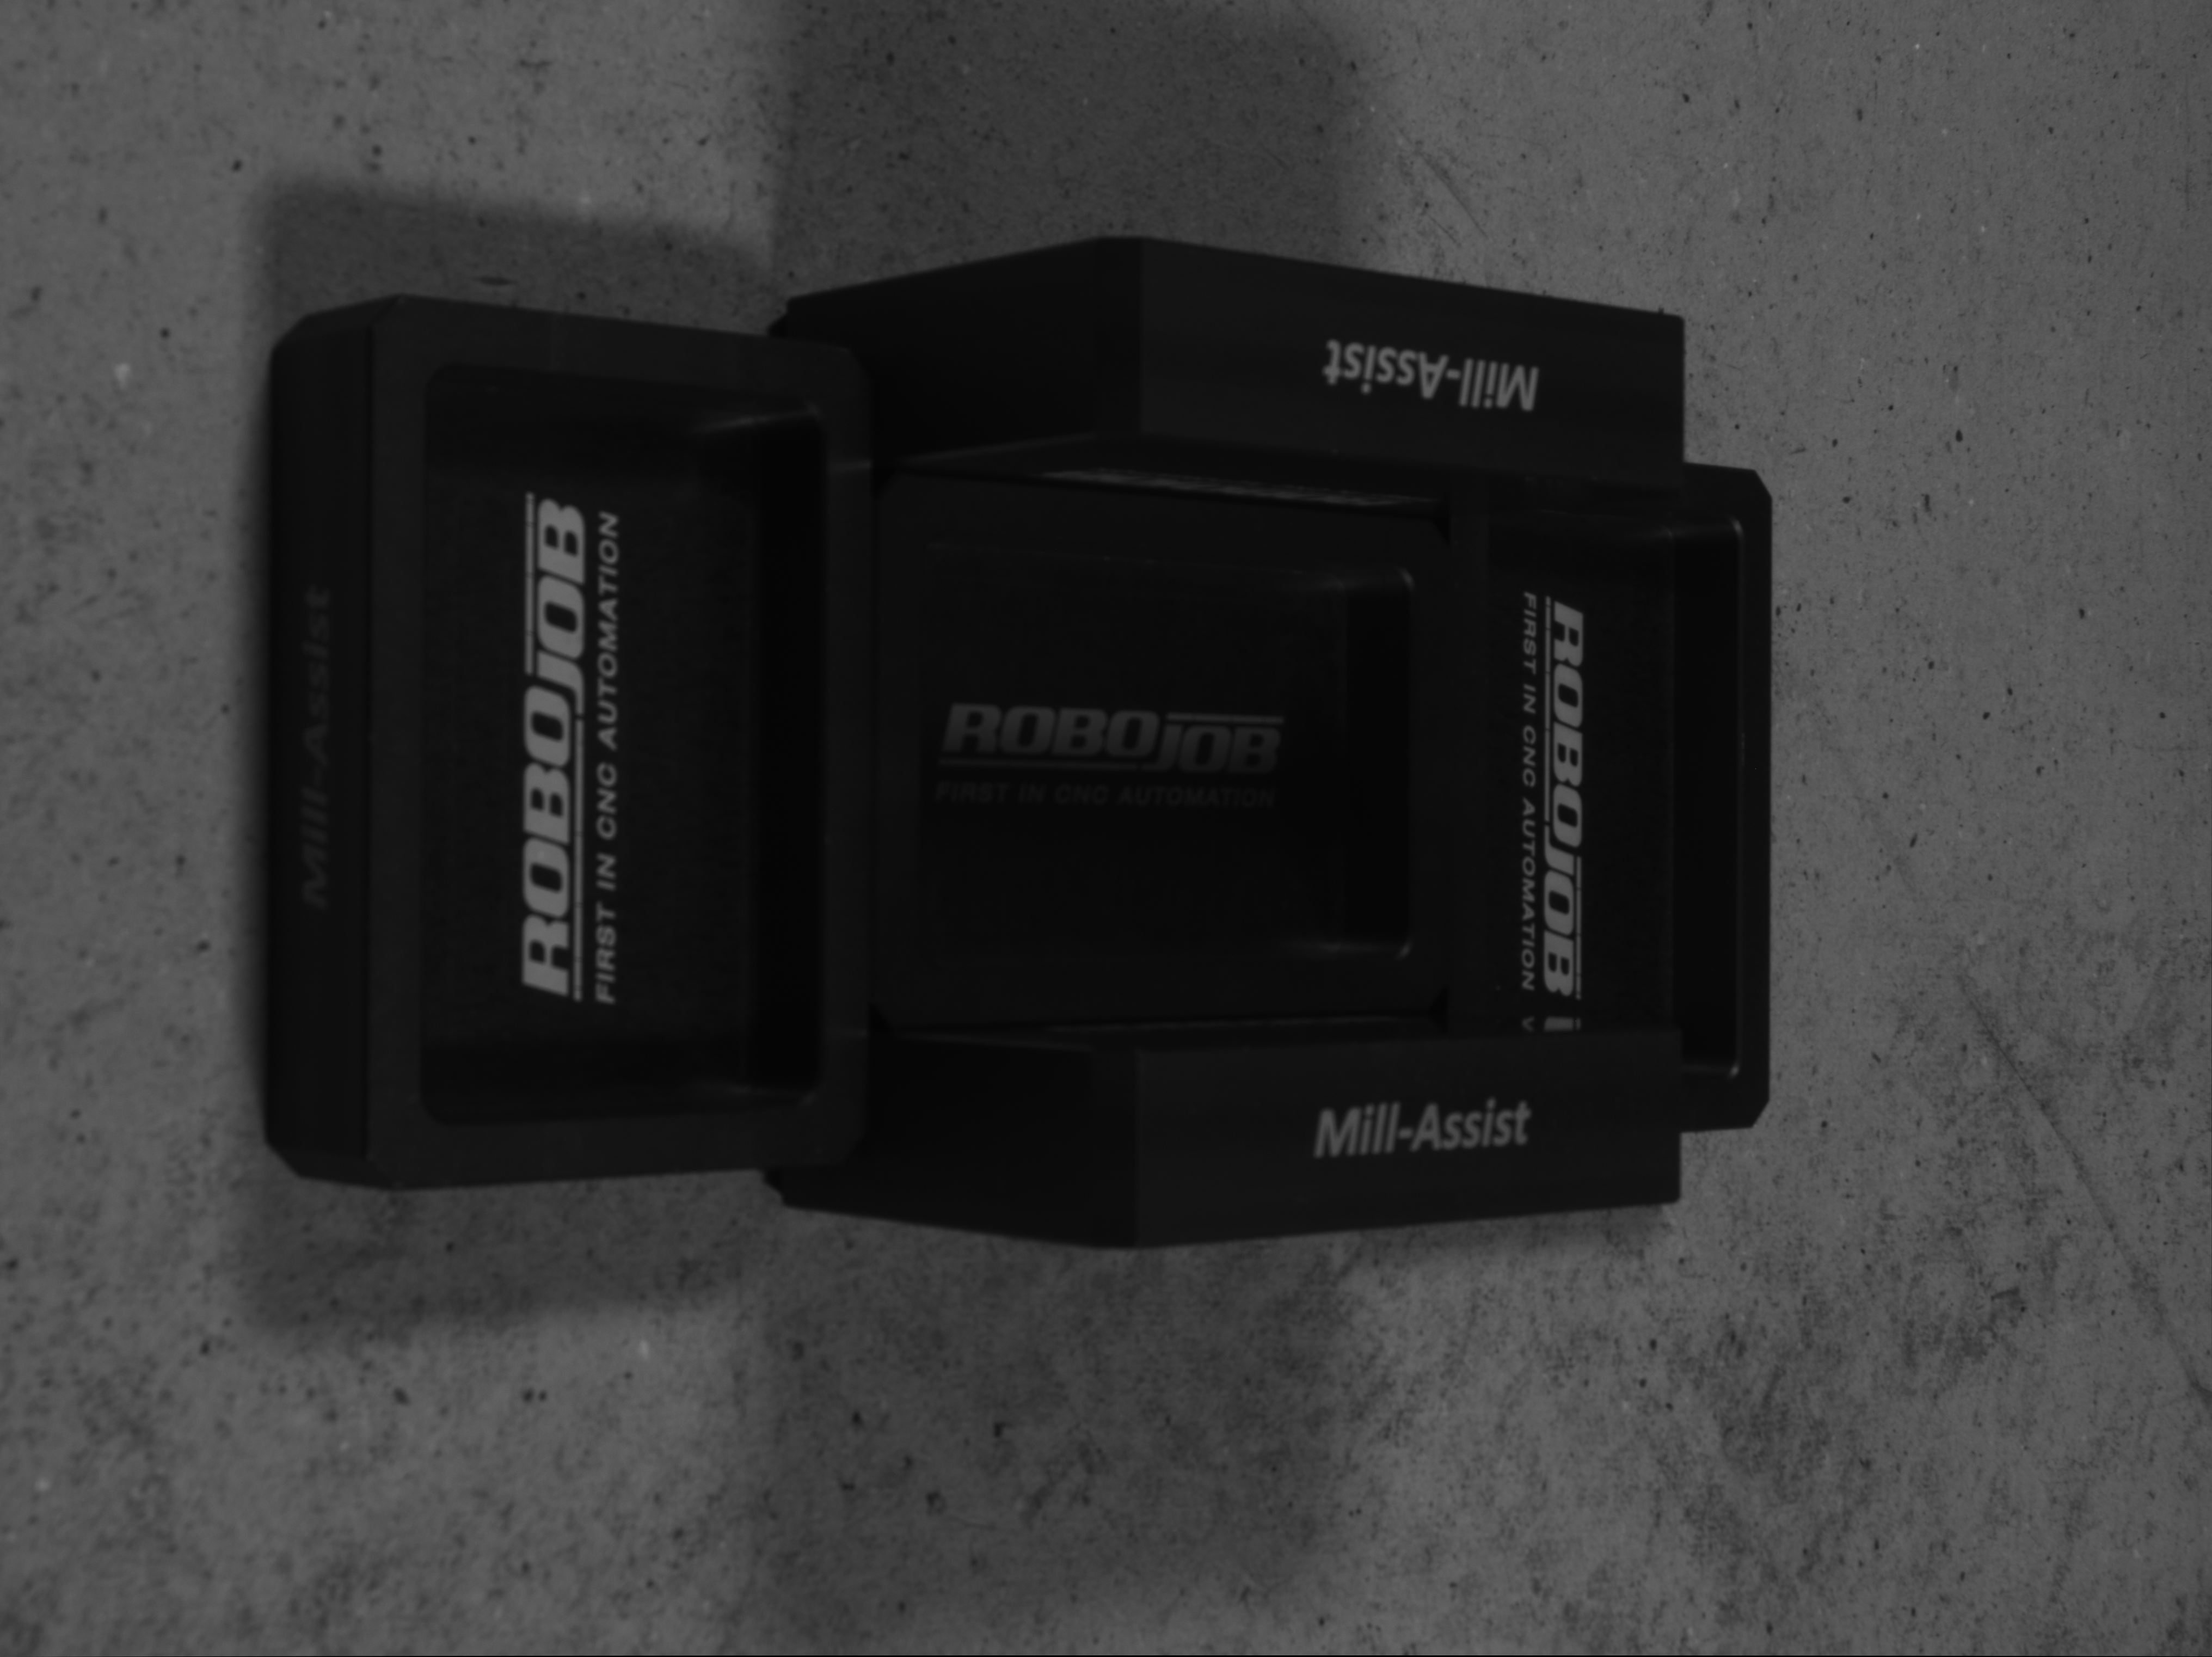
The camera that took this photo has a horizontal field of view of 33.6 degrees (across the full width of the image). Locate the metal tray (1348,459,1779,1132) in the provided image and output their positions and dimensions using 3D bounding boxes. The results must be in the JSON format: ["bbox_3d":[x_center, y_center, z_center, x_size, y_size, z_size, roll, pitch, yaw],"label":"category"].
[{"bbox_3d":[0.089,-0.006,0.709,0.090,0.030,0.130,1,89,-40],"label":"metal tray"}]

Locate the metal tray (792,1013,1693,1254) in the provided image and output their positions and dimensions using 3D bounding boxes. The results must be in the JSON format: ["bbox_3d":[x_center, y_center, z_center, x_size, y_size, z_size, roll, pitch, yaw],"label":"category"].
[{"bbox_3d":[0.024,0.048,0.613,0.130,0.090,0.030,1,90,-40],"label":"metal tray"}]

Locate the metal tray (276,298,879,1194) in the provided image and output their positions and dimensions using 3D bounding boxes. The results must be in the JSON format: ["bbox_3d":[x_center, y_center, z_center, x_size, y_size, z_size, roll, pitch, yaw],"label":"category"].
[{"bbox_3d":[-0.080,-0.012,0.567,0.090,0.030,0.130,1,89,-40],"label":"metal tray"}]

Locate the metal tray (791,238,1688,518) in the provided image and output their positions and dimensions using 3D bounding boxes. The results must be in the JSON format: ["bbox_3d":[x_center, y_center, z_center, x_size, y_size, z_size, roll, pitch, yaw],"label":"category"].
[{"bbox_3d":[0.024,-0.072,0.615,0.130,0.090,0.030,0,90,-40],"label":"metal tray"}]

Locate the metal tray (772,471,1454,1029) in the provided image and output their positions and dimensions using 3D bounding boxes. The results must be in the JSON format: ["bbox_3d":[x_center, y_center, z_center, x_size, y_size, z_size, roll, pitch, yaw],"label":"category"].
[{"bbox_3d":[0.004,-0.012,0.638,0.130,0.030,0.090,1,89,-40],"label":"metal tray"}]
